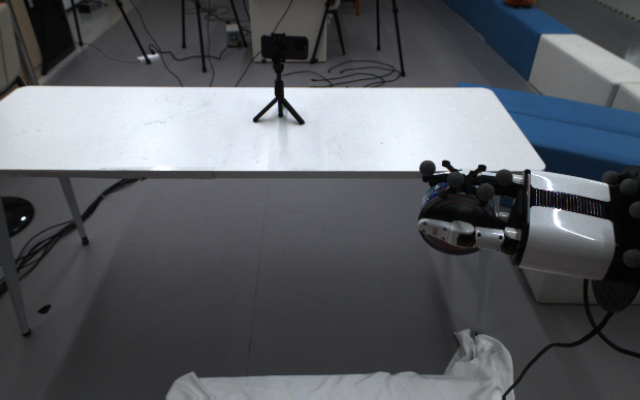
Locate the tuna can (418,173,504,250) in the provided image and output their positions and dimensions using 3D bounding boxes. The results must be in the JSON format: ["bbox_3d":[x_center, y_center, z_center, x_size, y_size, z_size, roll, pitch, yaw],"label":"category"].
[{"bbox_3d":[0.159,0.016,0.555,0.085,0.085,0.034,10,34,11],"label":"tuna can"}]
